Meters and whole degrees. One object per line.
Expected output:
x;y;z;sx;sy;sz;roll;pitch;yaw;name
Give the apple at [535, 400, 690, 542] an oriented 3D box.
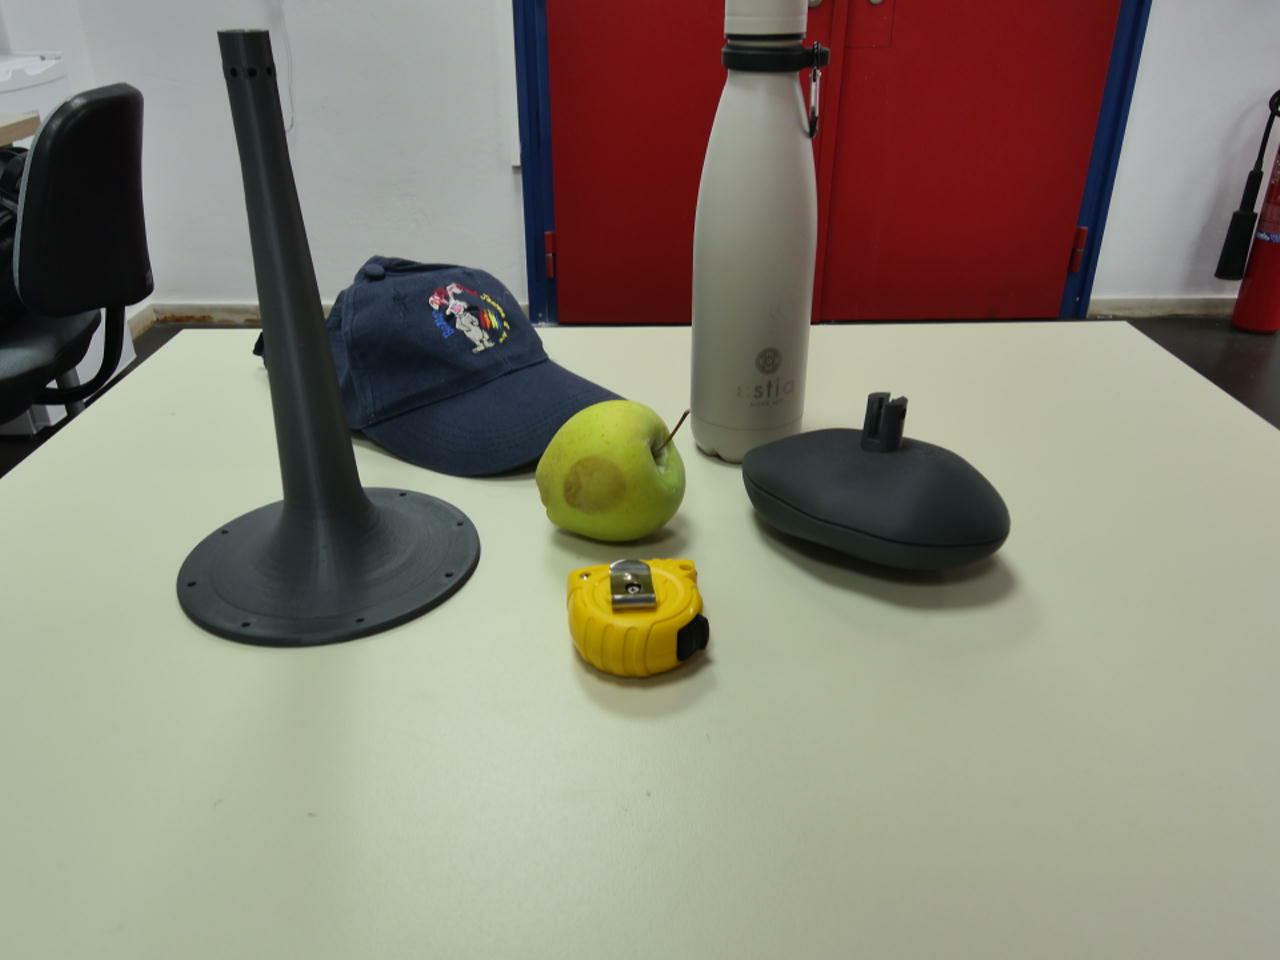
-0.014;-0.005;0.533;0.077;0.075;0.072;23;34;38;apple
